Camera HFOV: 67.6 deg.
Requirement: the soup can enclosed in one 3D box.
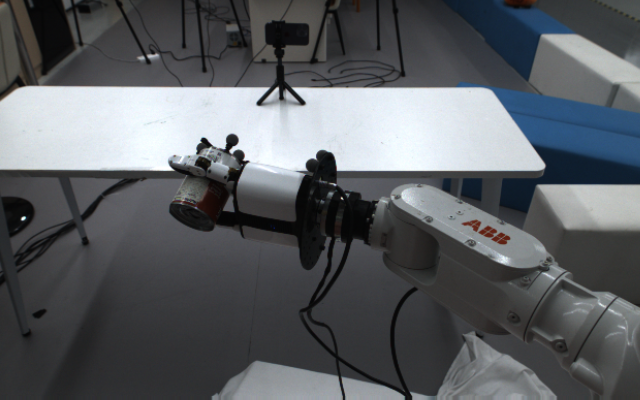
[{"bbox_3d":[-0.160,-0.016,0.680,0.067,0.067,0.101,12,59,14],"label":"soup can"}]
